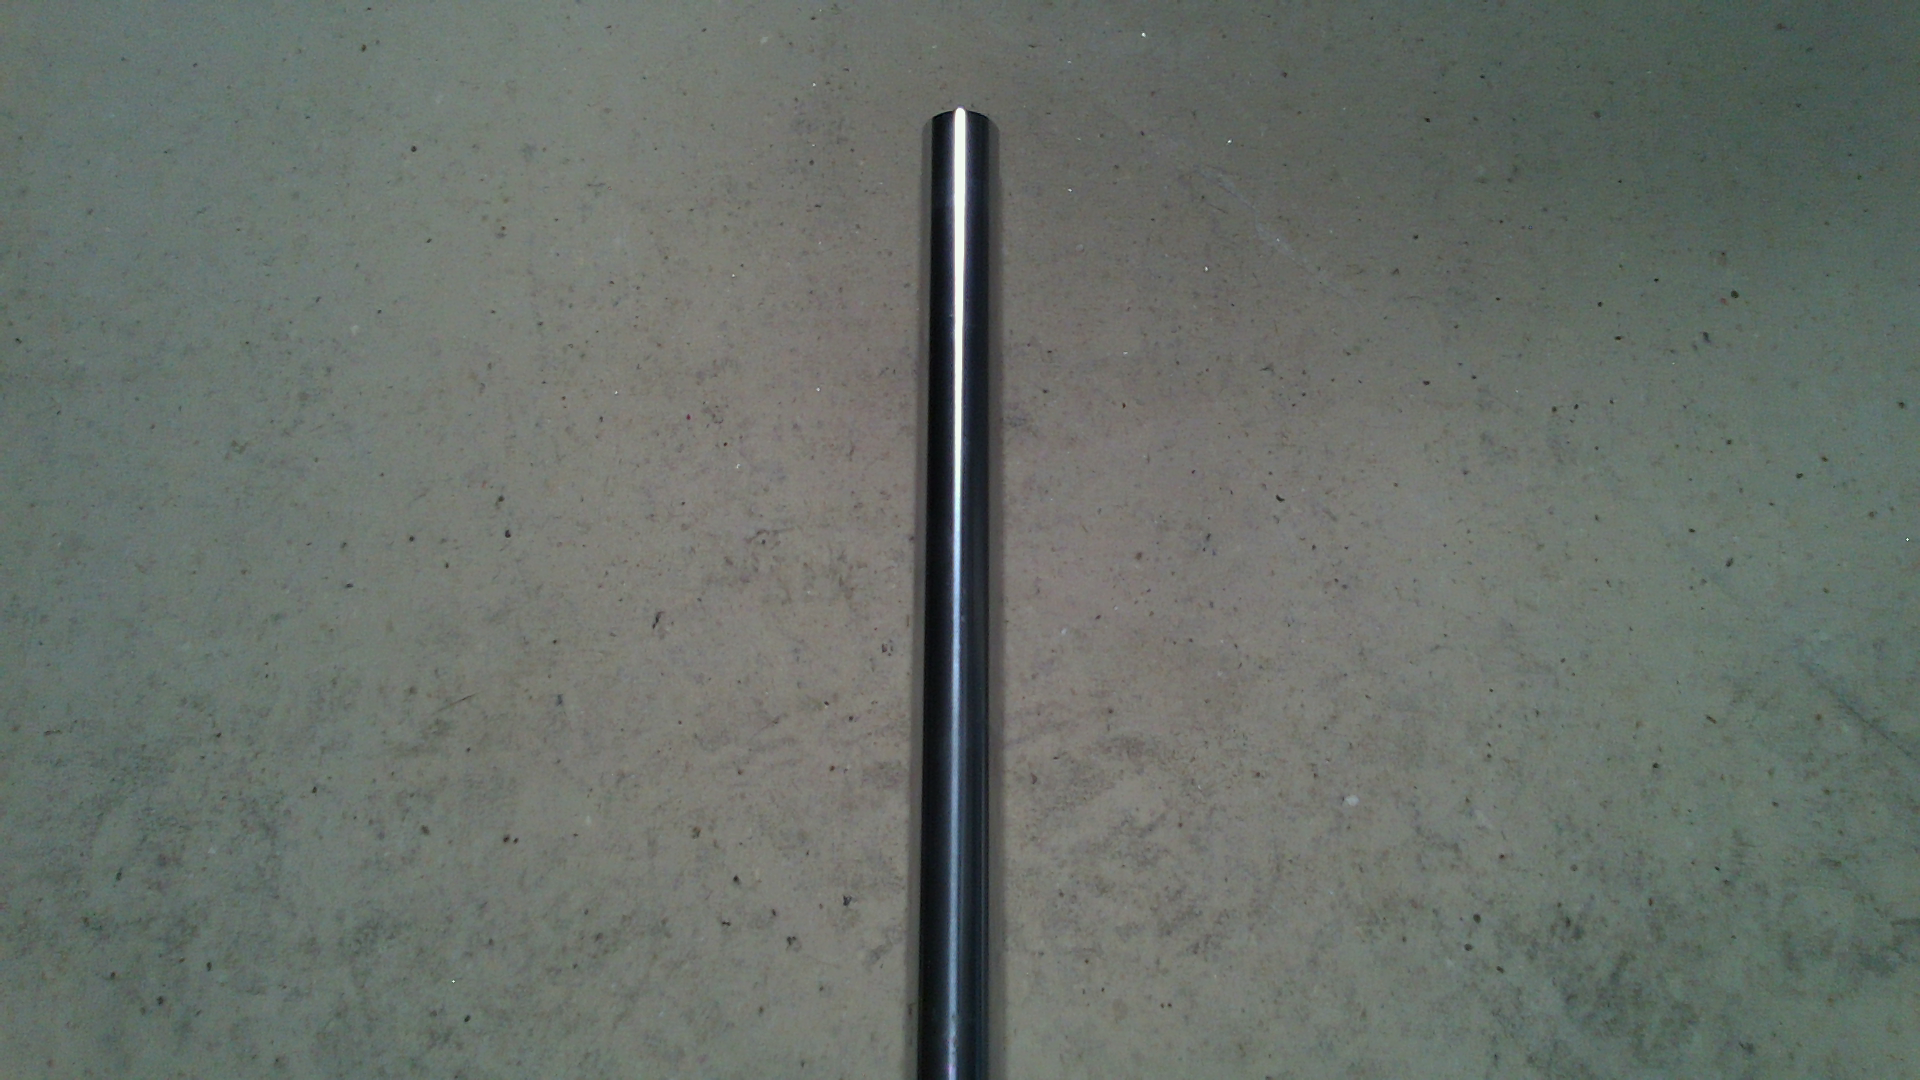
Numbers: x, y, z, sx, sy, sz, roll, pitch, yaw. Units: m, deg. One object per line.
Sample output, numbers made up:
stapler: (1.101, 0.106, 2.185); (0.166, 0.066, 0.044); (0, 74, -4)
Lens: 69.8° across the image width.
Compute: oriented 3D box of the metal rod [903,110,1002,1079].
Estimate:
metal rod: (-0.001, 0.011, 0.391); (0.025, 0.025, 0.300); (0, 70, 0)
